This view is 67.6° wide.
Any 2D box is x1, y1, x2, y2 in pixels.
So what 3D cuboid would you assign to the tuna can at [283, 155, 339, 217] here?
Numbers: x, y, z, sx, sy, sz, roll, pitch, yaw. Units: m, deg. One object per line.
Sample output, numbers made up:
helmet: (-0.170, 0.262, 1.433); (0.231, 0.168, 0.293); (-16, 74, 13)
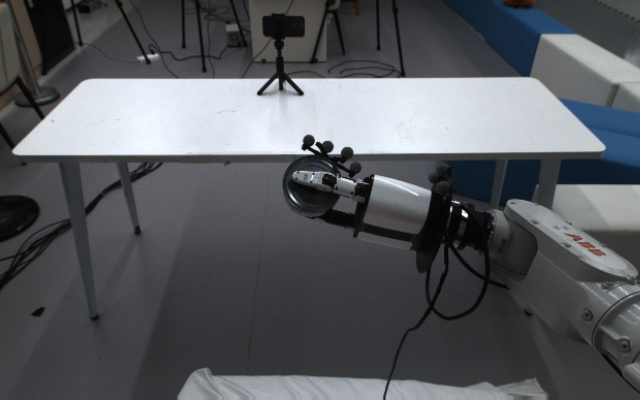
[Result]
tuna can: (-0.011, -0.020, 0.699); (0.085, 0.034, 0.085); (1, 76, -4)
